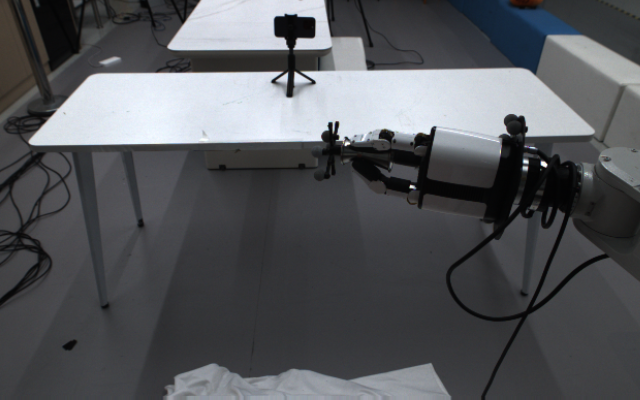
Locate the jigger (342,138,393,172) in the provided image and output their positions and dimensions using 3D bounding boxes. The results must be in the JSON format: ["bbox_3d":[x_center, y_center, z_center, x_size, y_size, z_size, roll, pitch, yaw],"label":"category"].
[{"bbox_3d":[0.072,-0.069,0.664,0.071,0.043,0.043,8,35,14],"label":"jigger"}]
